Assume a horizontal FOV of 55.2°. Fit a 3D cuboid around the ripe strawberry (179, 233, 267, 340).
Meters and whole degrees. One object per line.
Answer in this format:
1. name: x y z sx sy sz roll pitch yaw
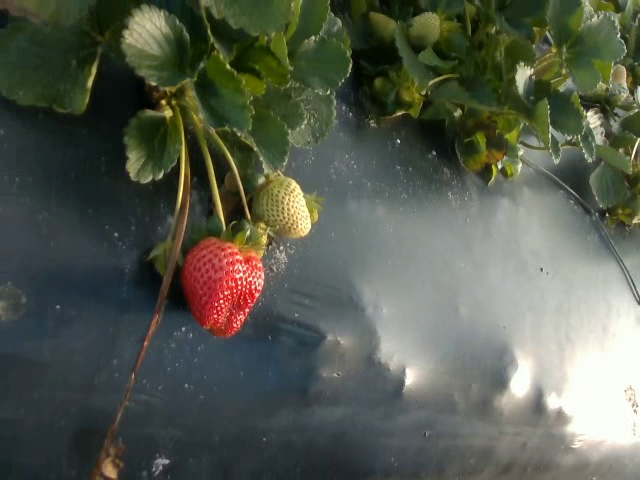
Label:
1. ripe strawberry: -0.044 0.025 0.297 0.047 0.050 0.034 18 -10 -35
